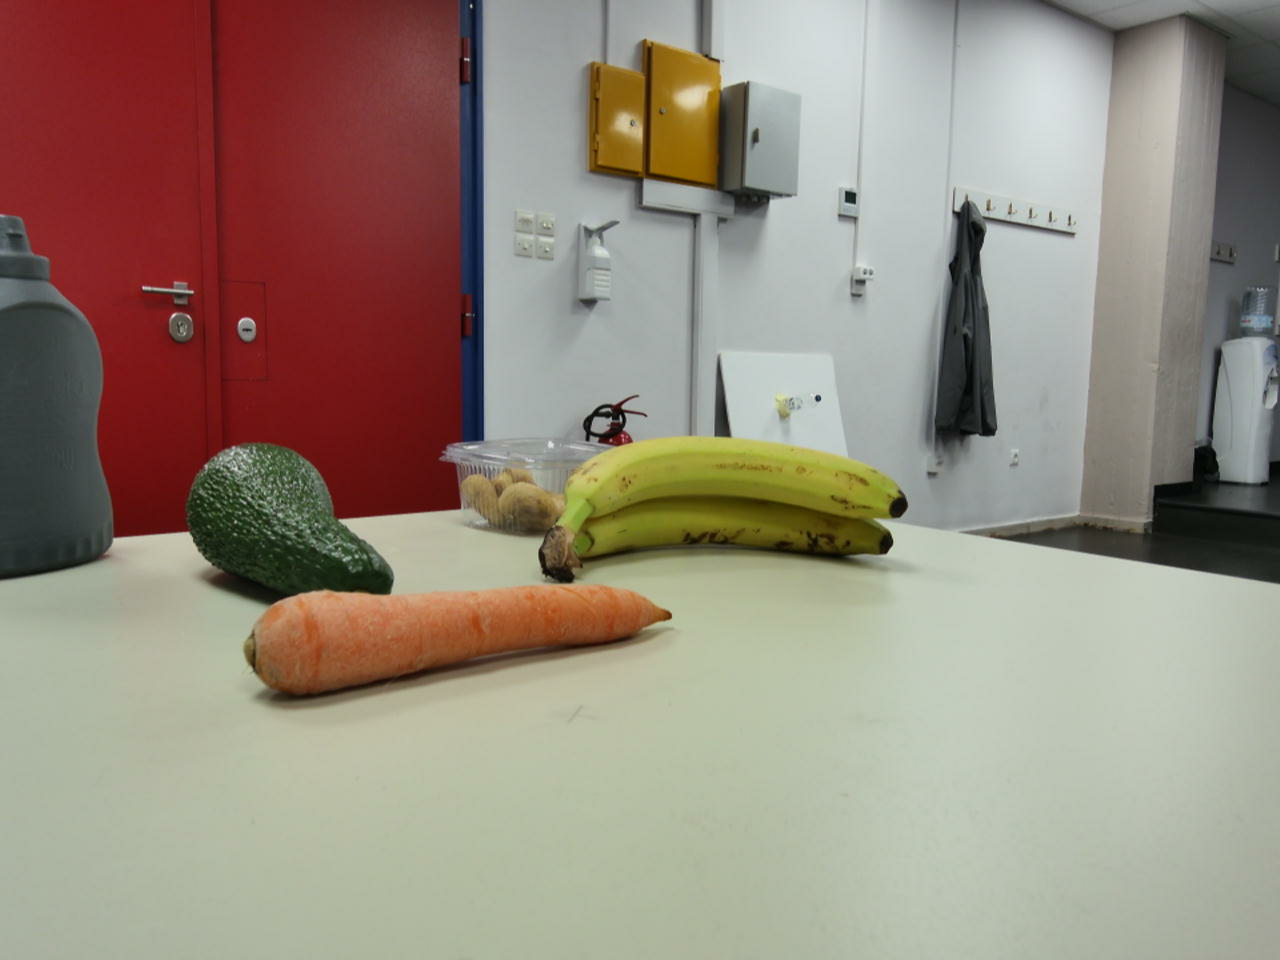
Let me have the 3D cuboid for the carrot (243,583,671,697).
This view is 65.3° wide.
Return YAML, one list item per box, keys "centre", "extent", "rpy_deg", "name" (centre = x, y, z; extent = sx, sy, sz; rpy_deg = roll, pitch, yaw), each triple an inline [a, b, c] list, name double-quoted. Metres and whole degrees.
- centre: [-0.066, 0.058, 0.426]
  extent: [0.196, 0.041, 0.039]
  rpy_deg: [-5, 6, -37]
  name: "carrot"
